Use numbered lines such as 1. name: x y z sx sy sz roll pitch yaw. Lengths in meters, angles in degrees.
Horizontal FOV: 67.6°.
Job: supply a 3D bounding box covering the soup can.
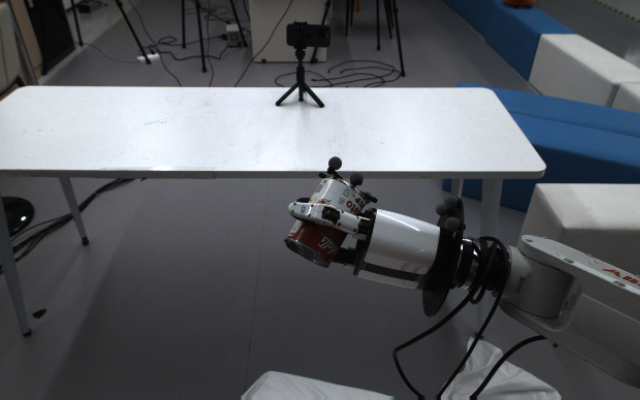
1. soup can: 0.009 0.028 0.632 0.067 0.067 0.101 23 72 27
